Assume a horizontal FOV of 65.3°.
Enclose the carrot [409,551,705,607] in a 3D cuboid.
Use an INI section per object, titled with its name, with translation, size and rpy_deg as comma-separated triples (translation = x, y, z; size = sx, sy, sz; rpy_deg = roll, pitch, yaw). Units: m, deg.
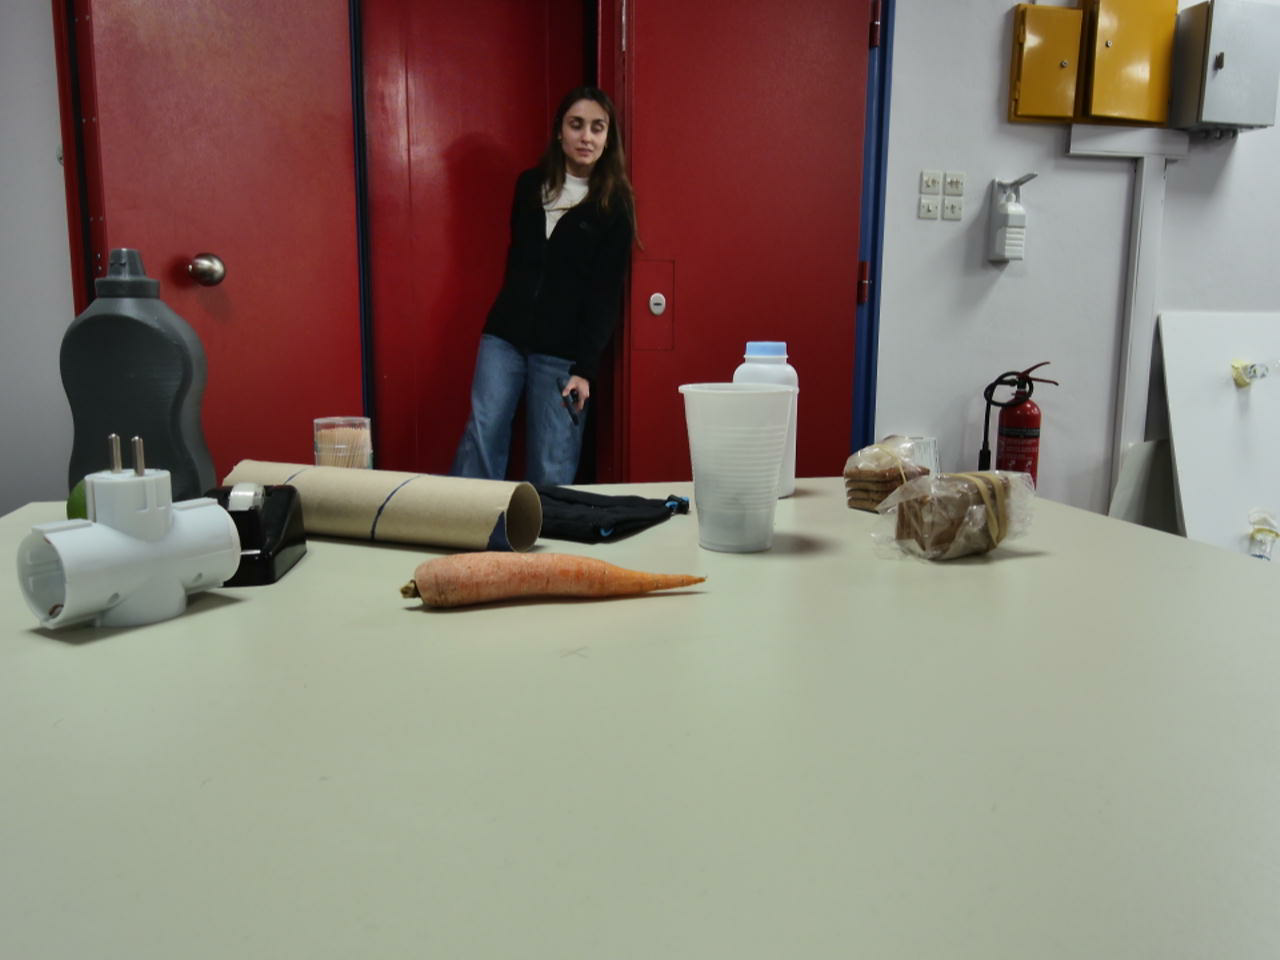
[carrot]
translation = -0.045, 0.052, 0.544
size = 0.163, 0.029, 0.031
rpy_deg = -2, 7, -13
